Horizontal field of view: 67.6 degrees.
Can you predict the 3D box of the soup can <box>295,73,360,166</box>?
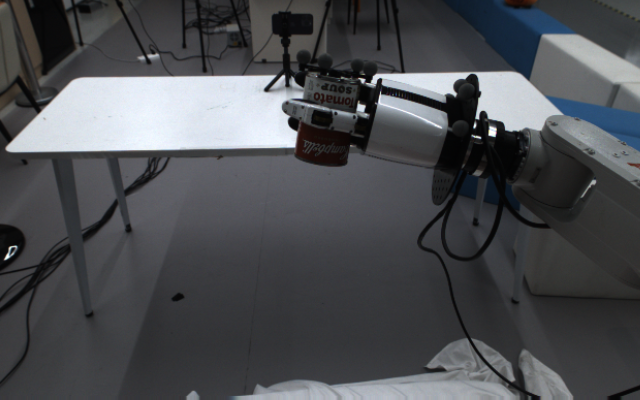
[{"bbox_3d":[0.010,-0.098,0.583,0.067,0.101,0.067,8,19,-3],"label":"soup can"}]
